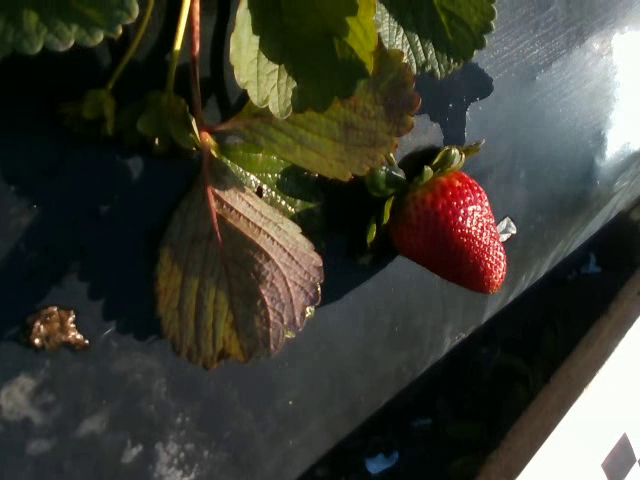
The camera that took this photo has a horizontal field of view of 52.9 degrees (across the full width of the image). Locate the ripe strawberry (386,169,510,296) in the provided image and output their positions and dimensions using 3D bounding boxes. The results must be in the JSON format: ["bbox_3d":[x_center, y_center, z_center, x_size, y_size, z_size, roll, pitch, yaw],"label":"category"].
[{"bbox_3d":[0.050,-0.001,0.230,0.045,0.055,0.042,-35,-7,-30],"label":"ripe strawberry"}]
